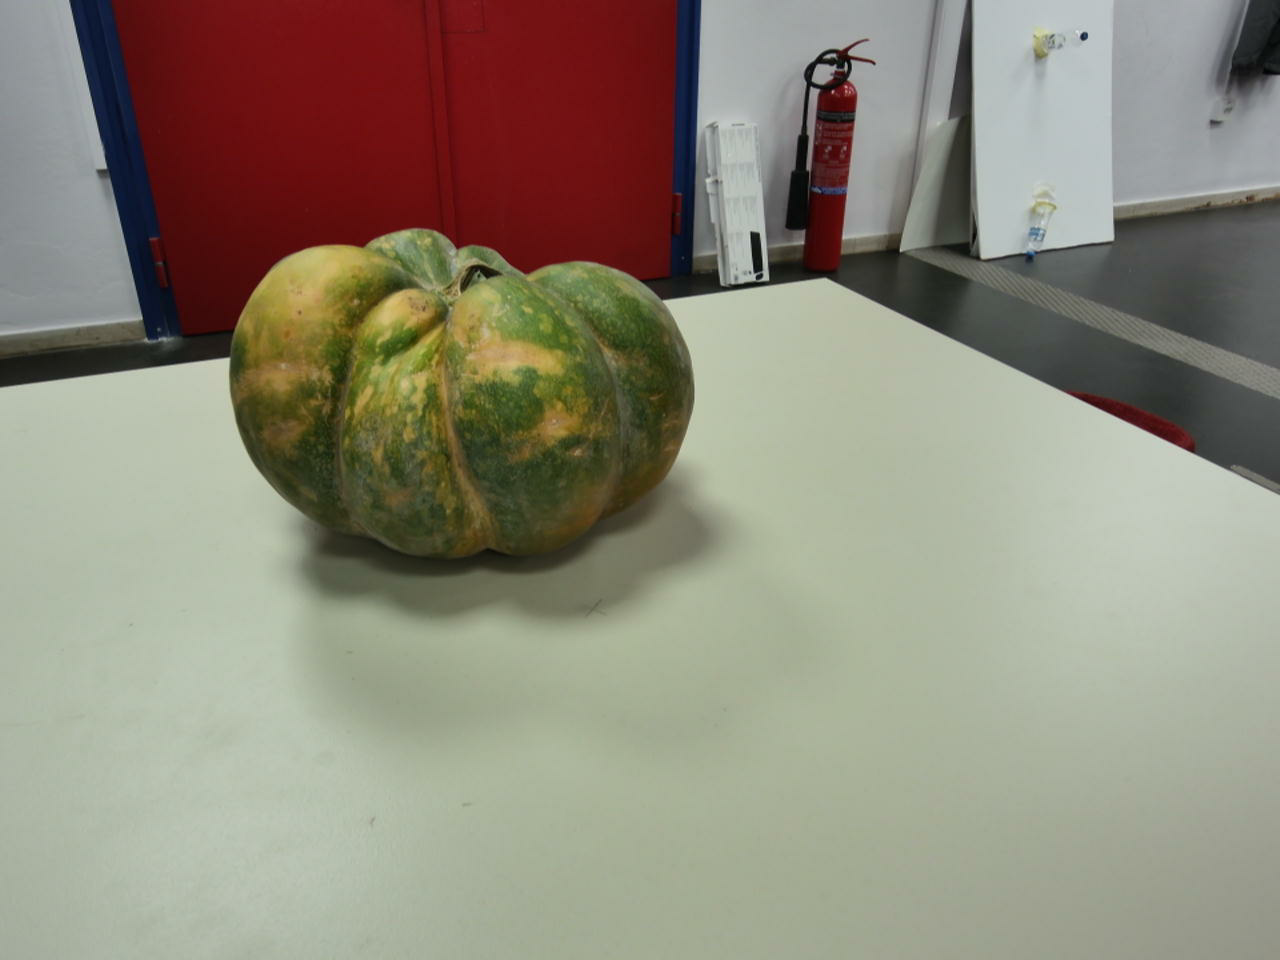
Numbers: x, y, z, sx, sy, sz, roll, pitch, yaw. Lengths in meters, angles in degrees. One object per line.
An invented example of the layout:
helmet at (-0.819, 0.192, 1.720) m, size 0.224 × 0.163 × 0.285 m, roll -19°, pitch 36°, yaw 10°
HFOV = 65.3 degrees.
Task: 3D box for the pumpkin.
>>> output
pumpkin at (-0.102, -0.059, 0.579) m, size 0.270 × 0.173 × 0.237 m, roll 6°, pitch 27°, yaw 11°
